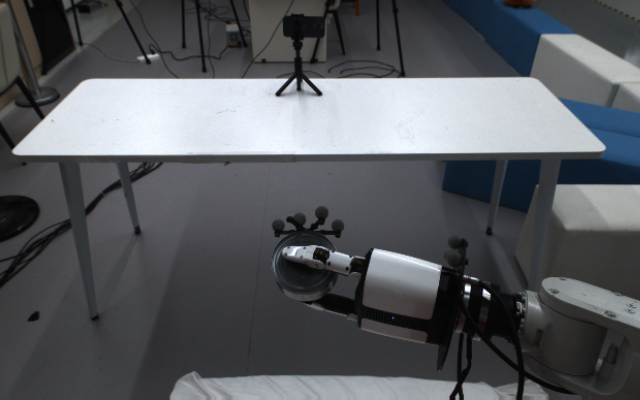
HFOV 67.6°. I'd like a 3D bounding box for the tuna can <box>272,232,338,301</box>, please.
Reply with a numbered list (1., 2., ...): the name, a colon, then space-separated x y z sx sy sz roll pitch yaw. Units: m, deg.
1. tuna can: -0.016 0.089 0.613 0.085 0.034 0.085 -1 59 2
